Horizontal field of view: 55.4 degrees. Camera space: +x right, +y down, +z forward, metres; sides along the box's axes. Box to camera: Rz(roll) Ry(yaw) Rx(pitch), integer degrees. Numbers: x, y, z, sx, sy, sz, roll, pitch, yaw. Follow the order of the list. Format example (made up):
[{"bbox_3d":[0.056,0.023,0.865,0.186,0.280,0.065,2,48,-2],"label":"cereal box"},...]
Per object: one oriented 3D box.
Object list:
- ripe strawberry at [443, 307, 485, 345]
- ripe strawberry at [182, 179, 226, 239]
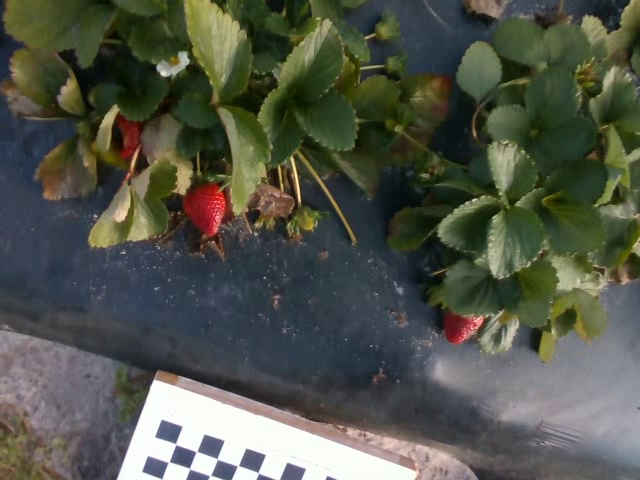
[{"bbox_3d":[0.089,0.055,0.380,0.029,0.036,0.021,24,6,-4],"label":"ripe strawberry"},{"bbox_3d":[-0.068,-0.016,0.348,0.032,0.030,0.025,-14,-3,2],"label":"ripe strawberry"}]
